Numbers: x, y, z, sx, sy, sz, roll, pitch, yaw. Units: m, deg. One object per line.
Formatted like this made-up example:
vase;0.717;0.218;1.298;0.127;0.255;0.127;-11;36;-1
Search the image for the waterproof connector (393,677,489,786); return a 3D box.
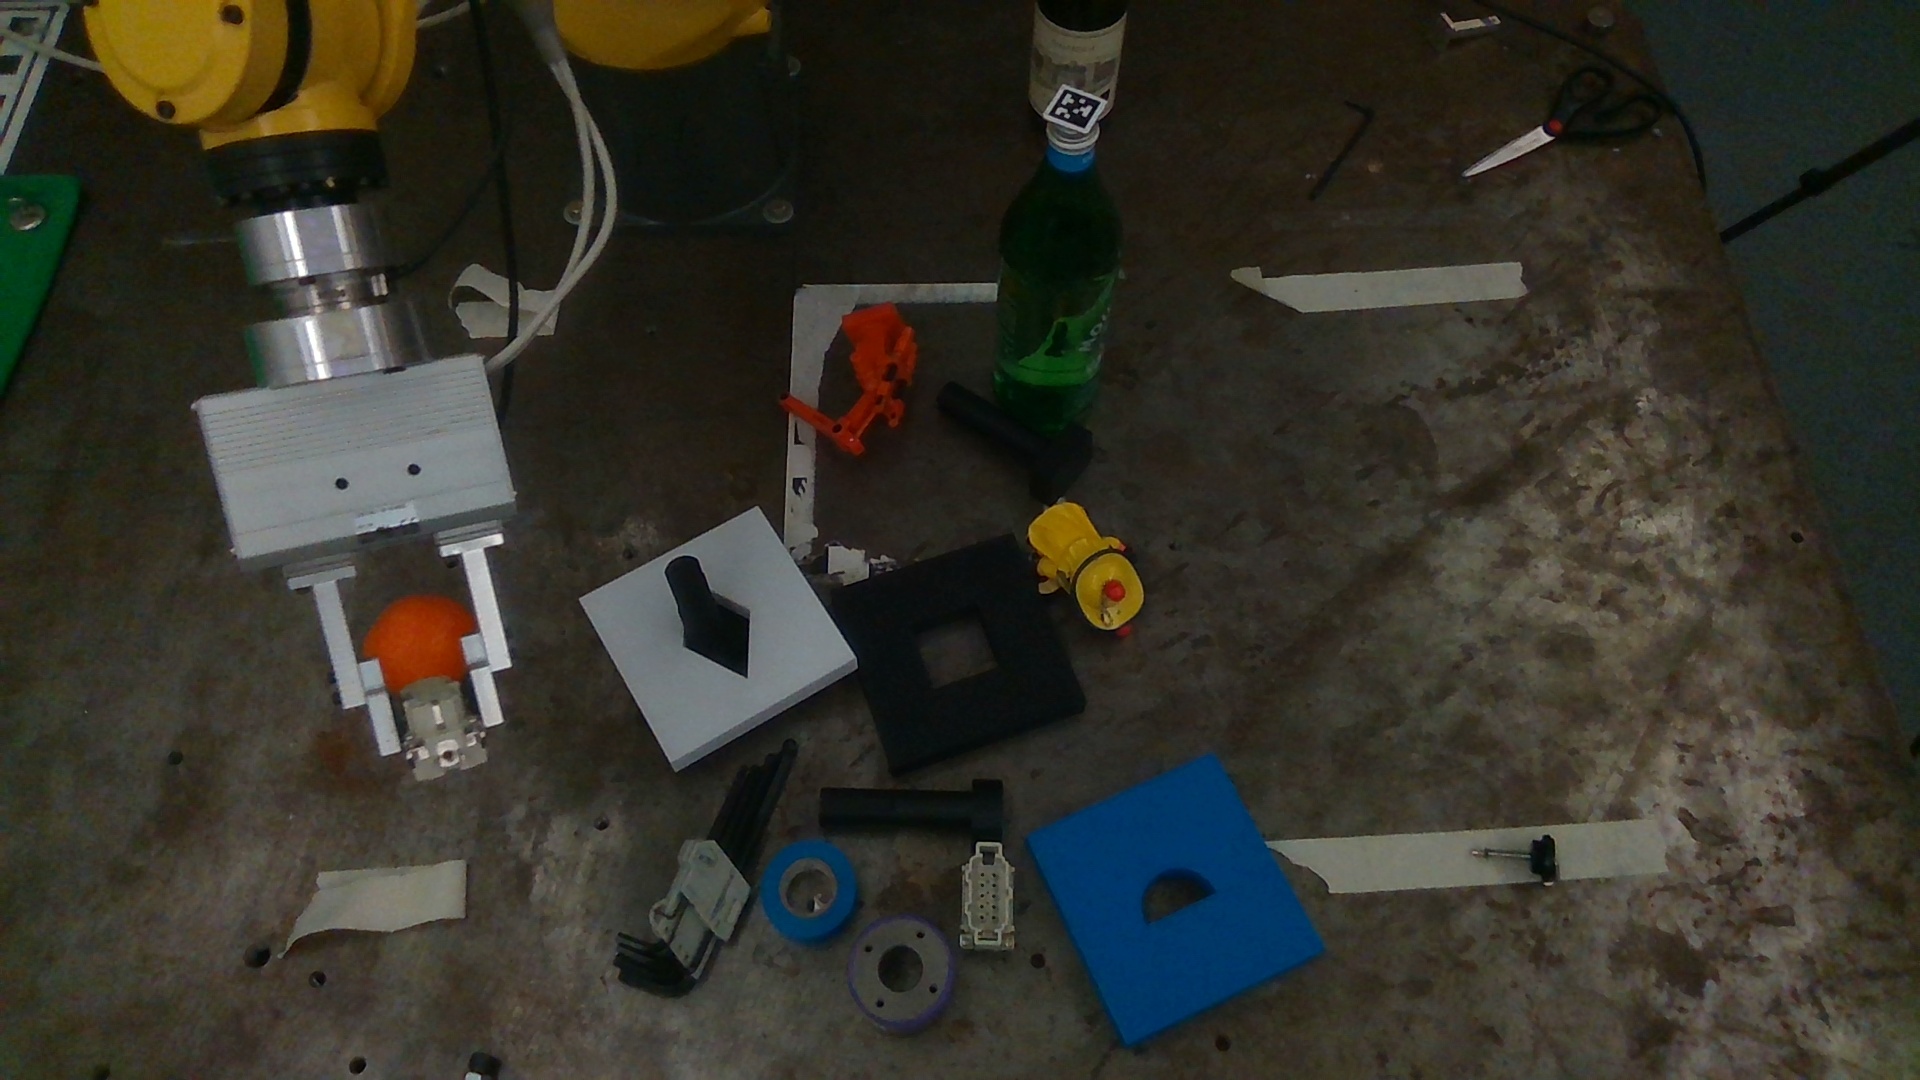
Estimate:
waterproof connector;-0.256;0.091;0.679;0.036;0.069;0.038;-21;106;-22
